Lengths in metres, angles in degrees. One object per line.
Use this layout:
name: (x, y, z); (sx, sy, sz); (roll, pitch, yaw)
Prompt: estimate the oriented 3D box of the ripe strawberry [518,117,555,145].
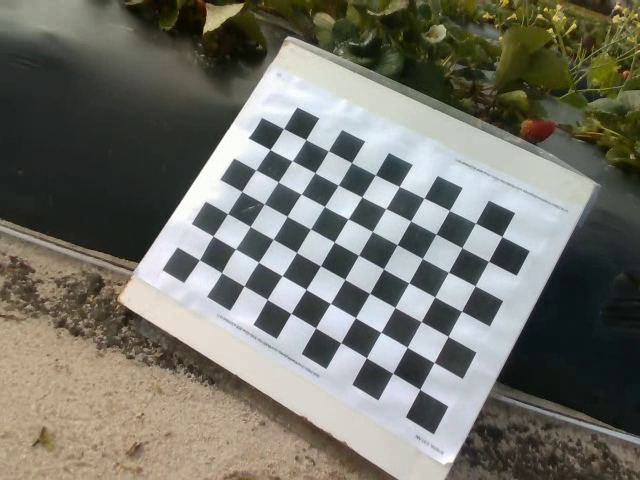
ripe strawberry: (0.146, -0.077, 0.426); (0.027, 0.022, 0.021); (0, -8, 17)
